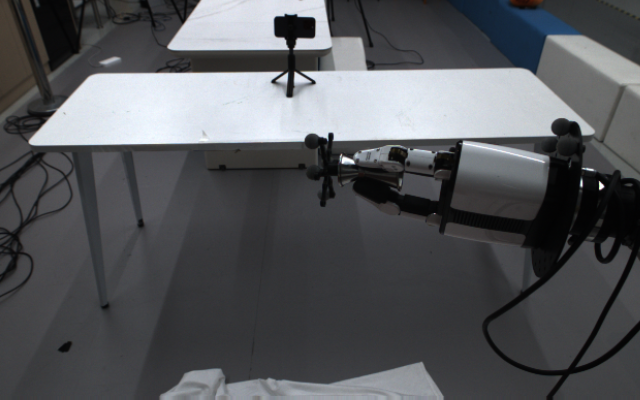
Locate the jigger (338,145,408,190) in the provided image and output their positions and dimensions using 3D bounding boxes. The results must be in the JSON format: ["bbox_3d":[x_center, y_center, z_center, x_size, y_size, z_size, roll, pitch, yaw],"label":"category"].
[{"bbox_3d":[0.065,-0.037,0.546,0.071,0.043,0.043,2,34,15],"label":"jigger"}]
